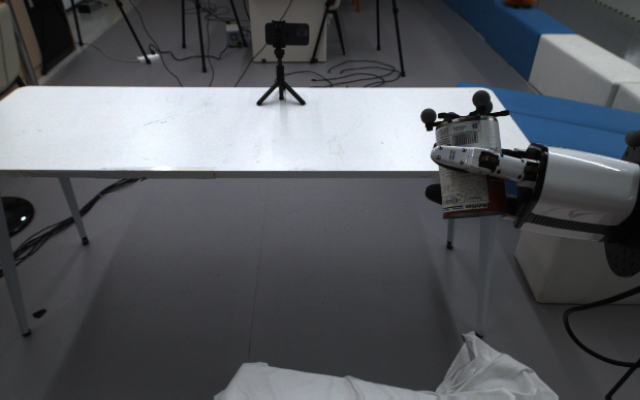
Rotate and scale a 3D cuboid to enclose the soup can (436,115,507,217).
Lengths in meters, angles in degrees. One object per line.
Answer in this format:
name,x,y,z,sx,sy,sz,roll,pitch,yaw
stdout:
soup can,0.163,-0.036,0.524,0.067,0.101,0.067,-4,-6,0
